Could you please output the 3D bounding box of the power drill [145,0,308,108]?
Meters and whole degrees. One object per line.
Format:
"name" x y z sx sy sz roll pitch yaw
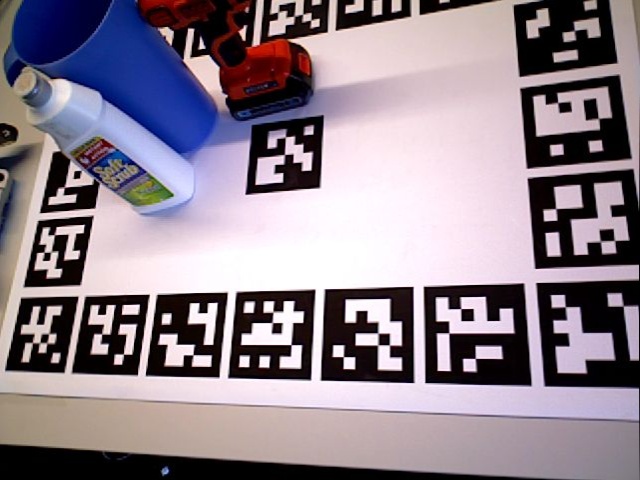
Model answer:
"power drill" -0.072 -0.225 0.600 0.185 0.187 0.057 -7 73 11

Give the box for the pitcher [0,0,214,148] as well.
"pitcher" -0.235 -0.200 0.641 0.190 0.243 0.132 -29 67 8

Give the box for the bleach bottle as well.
"bleach bottle" -0.256 -0.109 0.598 0.103 0.251 0.067 -11 69 15
